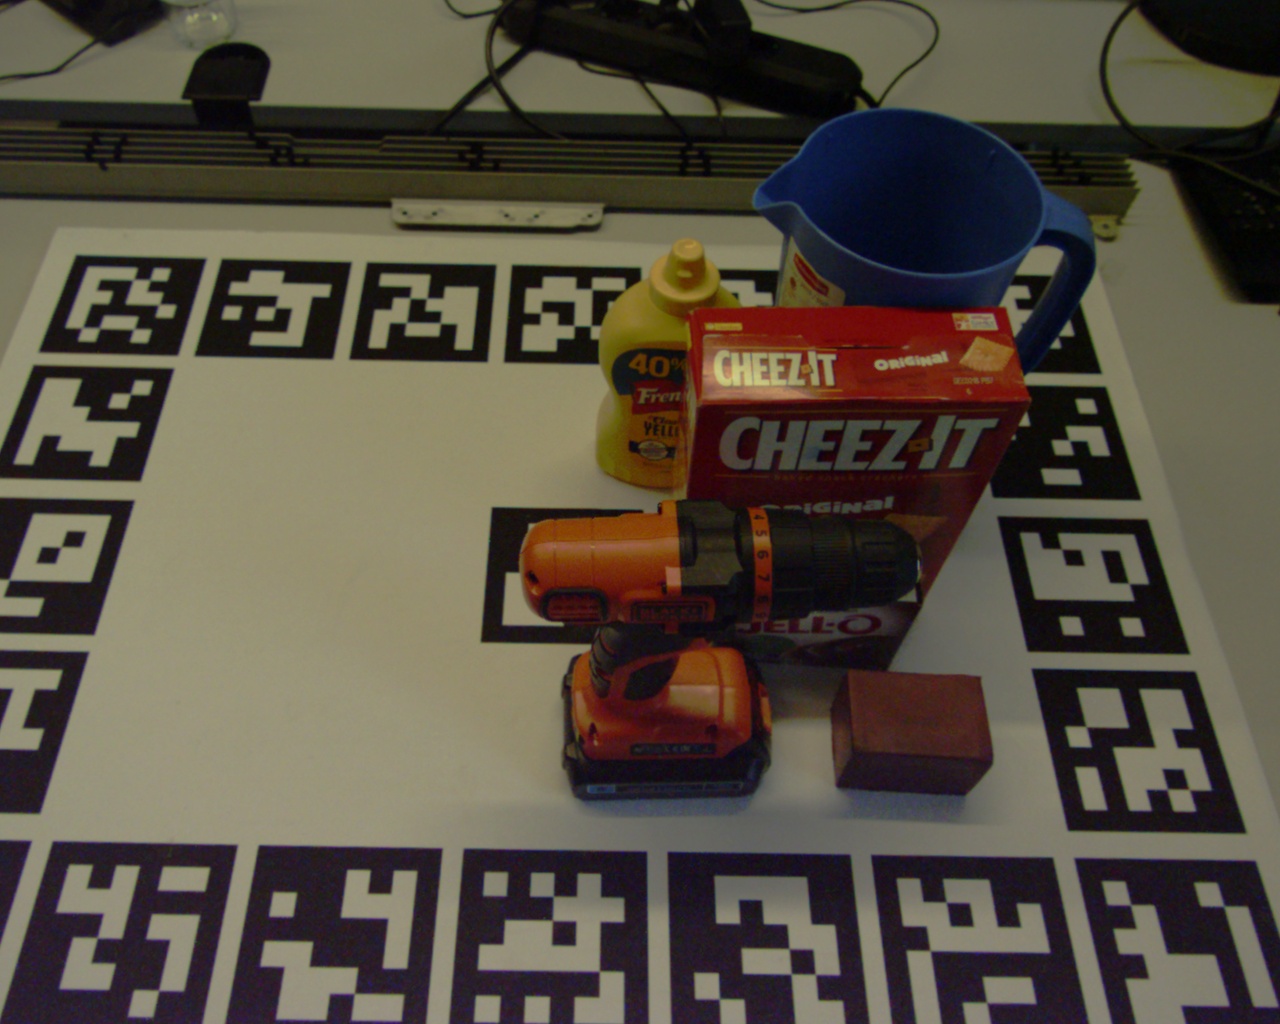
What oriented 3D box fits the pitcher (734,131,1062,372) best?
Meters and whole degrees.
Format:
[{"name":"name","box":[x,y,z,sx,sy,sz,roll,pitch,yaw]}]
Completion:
[{"name":"pitcher","box":[0.147,-0.105,0.724,0.189,0.242,0.133,5,57,4]}]

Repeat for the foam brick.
[{"name":"foam brick","box":[0.149,0.126,0.683,0.078,0.051,0.053,3,59,0]}]

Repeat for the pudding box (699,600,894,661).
[{"name":"pudding box","box":[0.092,0.053,0.690,0.114,0.089,0.039,0,56,2]}]

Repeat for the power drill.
[{"name":"power drill","box":[0.033,0.067,0.598,0.184,0.186,0.057,0,54,-3]}]

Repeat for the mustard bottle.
[{"name":"mustard bottle","box":[0.014,-0.100,0.732,0.096,0.191,0.058,12,59,6]}]

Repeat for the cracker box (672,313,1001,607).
[{"name":"cracker box","box":[0.101,-0.017,0.672,0.164,0.213,0.072,-2,55,-1]}]
